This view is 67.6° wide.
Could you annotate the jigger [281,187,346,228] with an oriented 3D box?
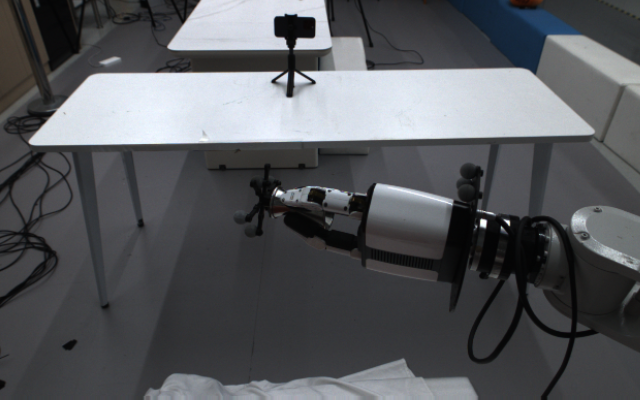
[{"bbox_3d":[-0.014,0.004,0.569,0.071,0.043,0.043,9,35,16],"label":"jigger"}]
